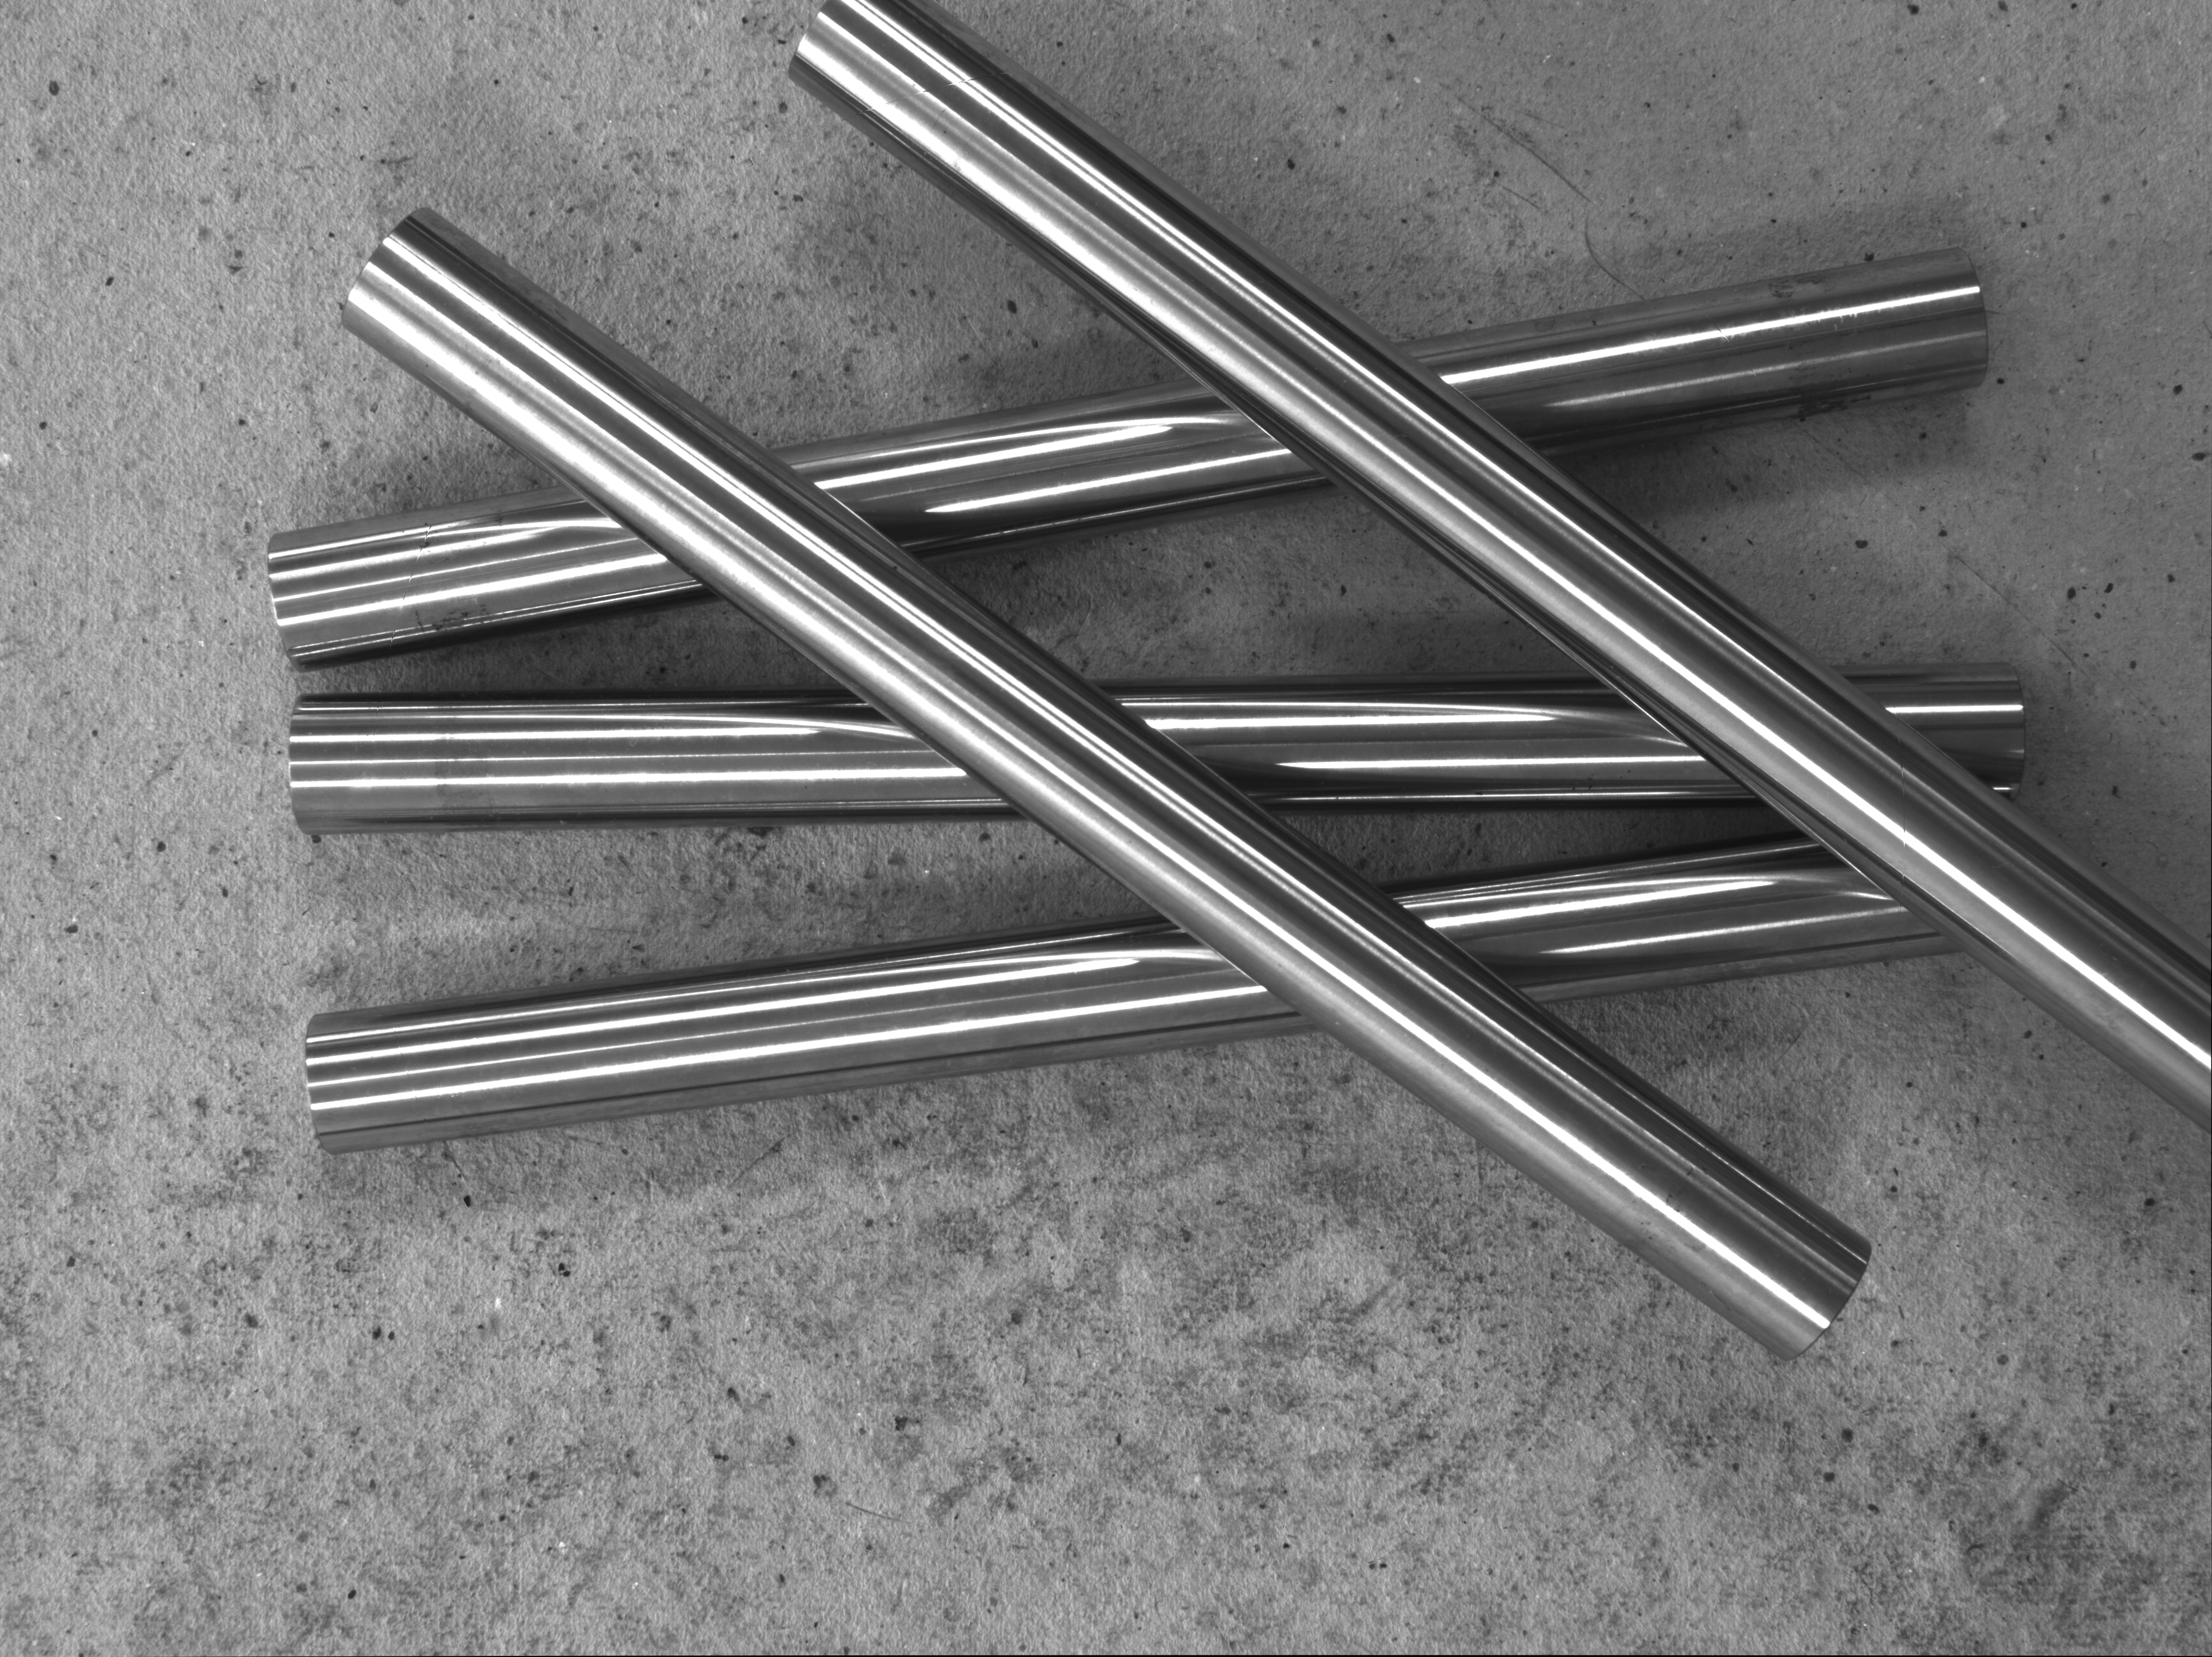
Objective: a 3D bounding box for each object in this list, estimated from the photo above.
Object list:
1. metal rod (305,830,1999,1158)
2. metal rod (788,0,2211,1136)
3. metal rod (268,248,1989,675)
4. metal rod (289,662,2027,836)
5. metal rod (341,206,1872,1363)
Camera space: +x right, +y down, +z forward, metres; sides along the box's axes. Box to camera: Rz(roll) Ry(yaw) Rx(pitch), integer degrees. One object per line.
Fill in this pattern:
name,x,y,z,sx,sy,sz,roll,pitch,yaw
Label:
metal rod,0.011,0.027,0.645,0.300,0.025,0.025,-7,90,0
metal rod,0.074,-0.047,0.620,0.300,0.025,0.025,37,90,0
metal rod,0.004,-0.065,0.645,0.300,0.025,0.025,-10,90,0
metal rod,0.009,-0.014,0.645,0.300,0.025,0.025,-1,90,0
metal rod,0.000,-0.007,0.620,0.300,0.025,0.025,36,90,0
